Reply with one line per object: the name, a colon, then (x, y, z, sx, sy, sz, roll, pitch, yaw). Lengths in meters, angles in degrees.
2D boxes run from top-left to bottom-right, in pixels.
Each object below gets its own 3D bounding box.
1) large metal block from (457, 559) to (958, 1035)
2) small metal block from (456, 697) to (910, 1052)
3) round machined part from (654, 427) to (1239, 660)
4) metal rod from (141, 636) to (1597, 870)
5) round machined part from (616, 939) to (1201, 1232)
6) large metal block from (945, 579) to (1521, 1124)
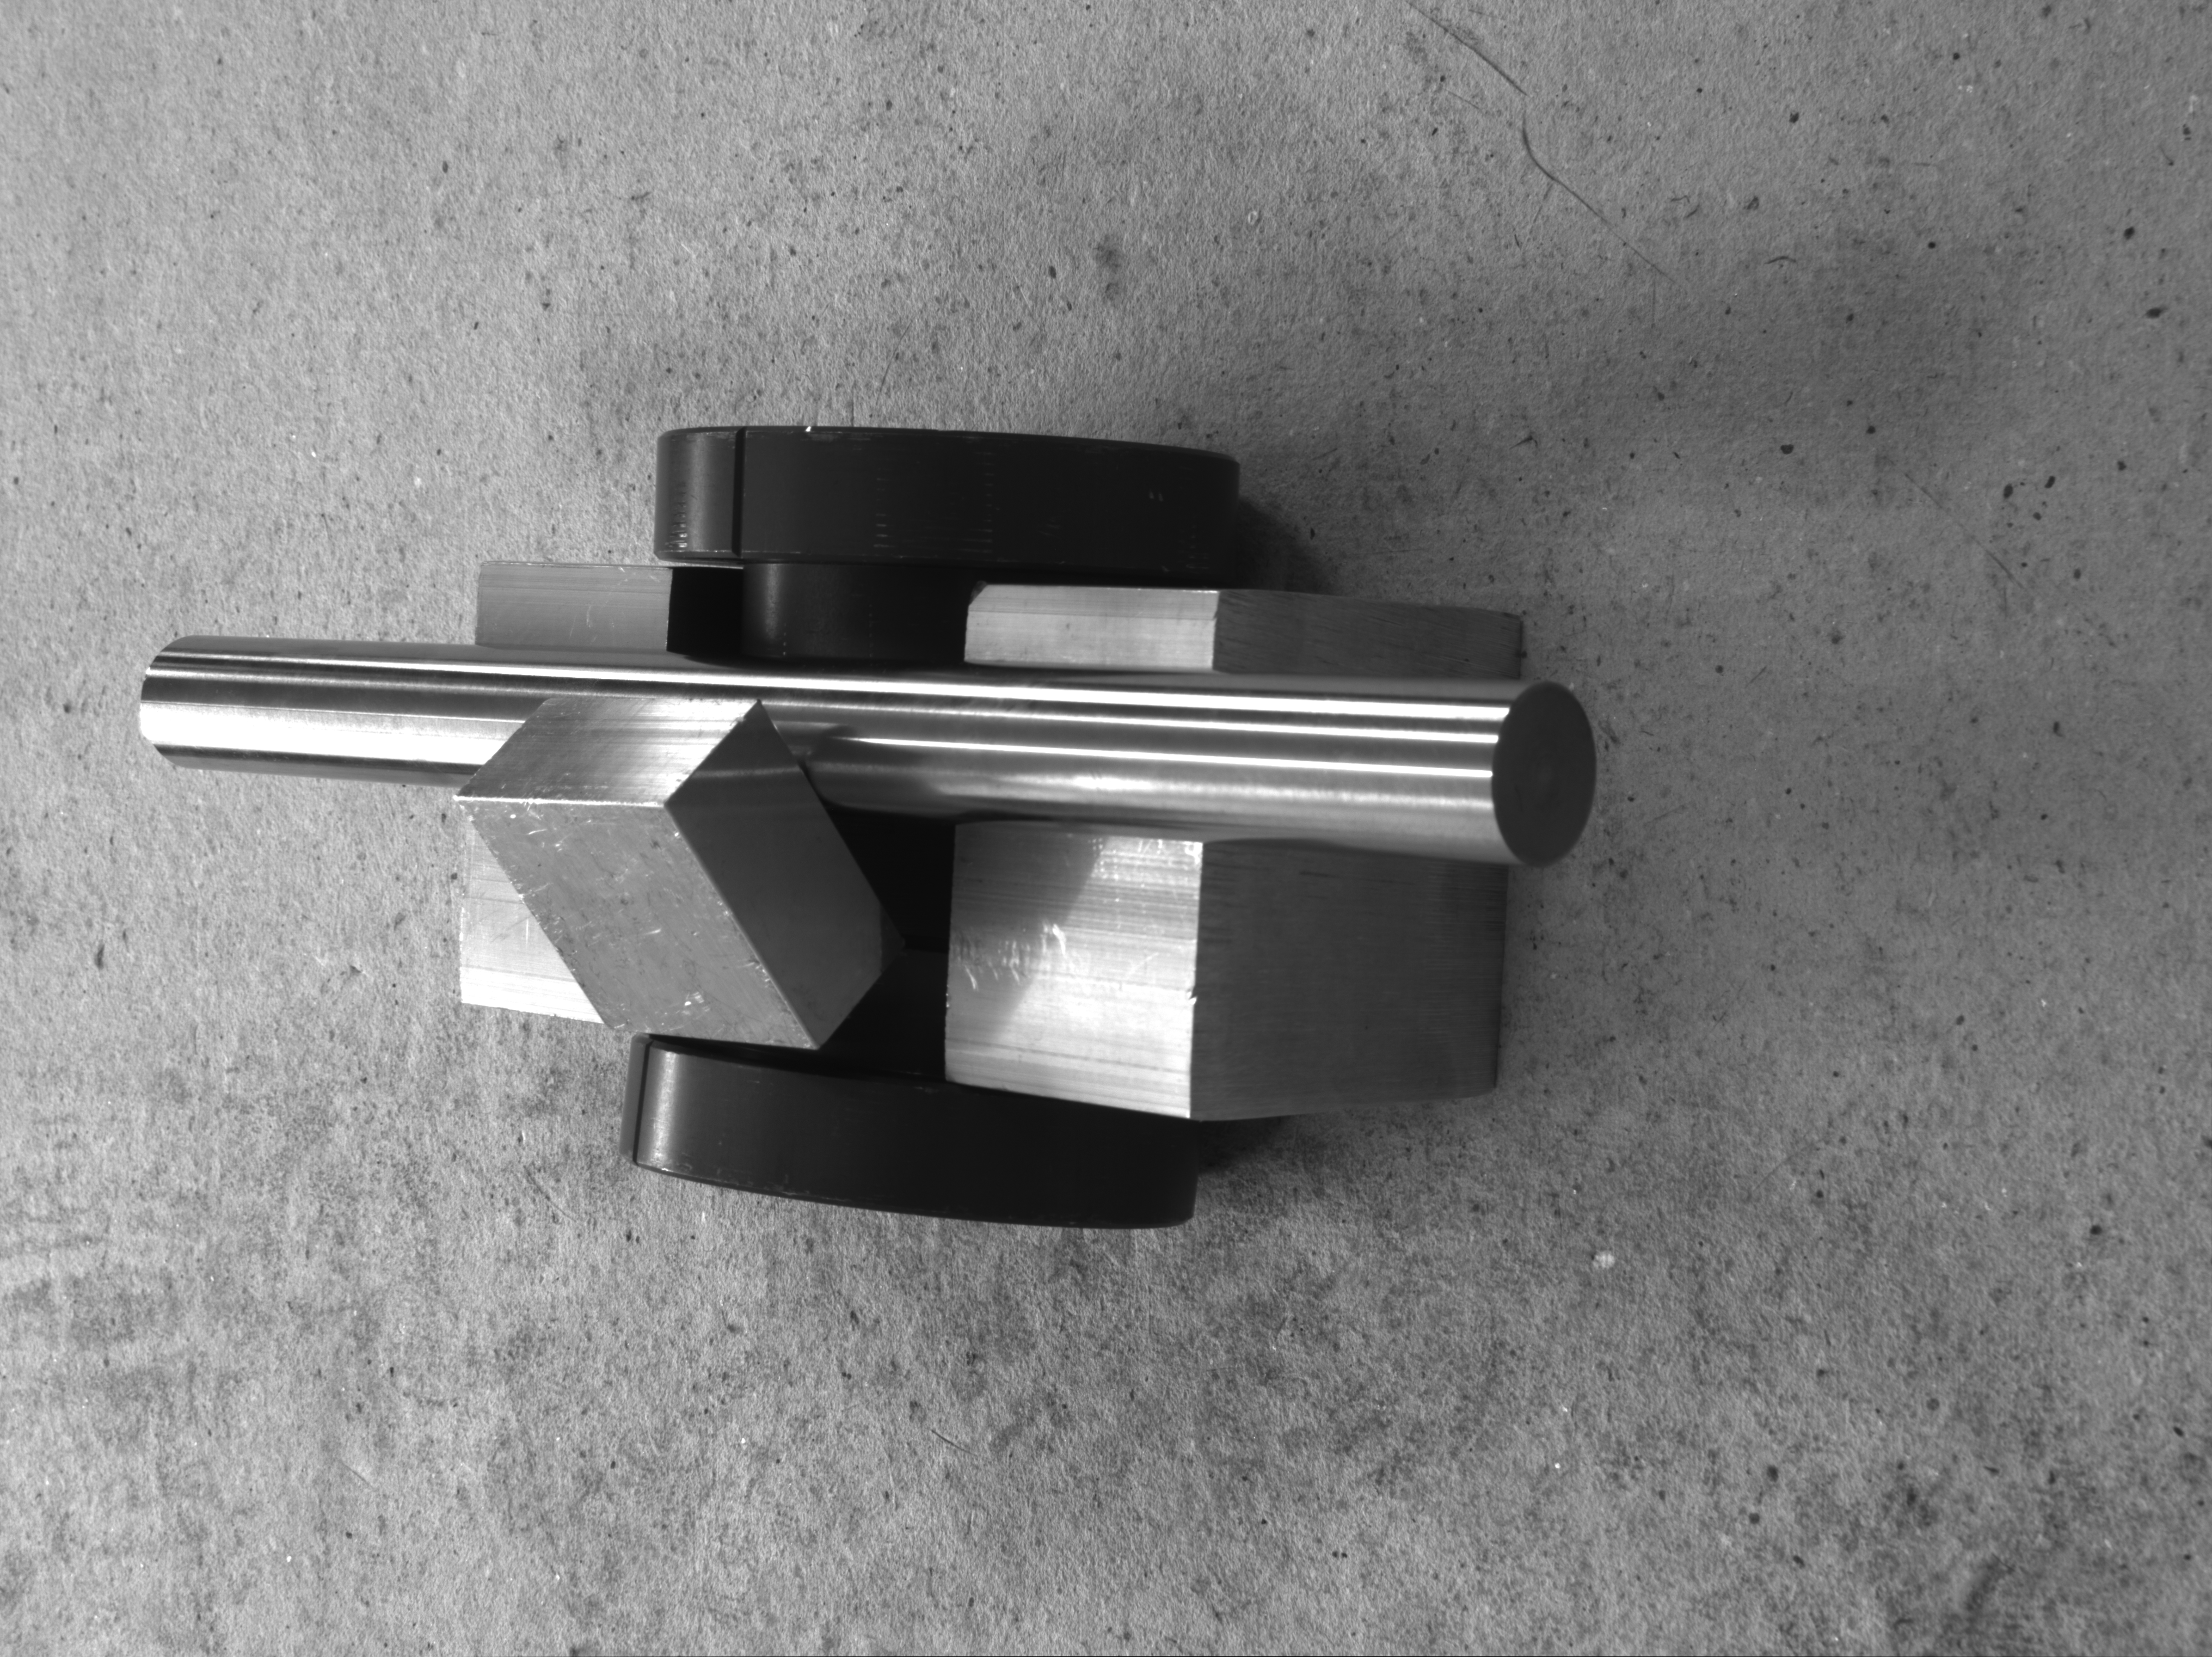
large metal block: (-0.068, -0.006, 0.668, 0.050, 0.080, 0.080, 6, 94, 40)
small metal block: (-0.067, 0.007, 0.579, 0.050, 0.025, 0.050, 2, 132, 42)
round machined part: (-0.027, -0.043, 0.621, 0.098, 0.098, 0.042, 5, 94, 40)
metal rod: (-0.055, -0.015, 0.588, 0.299, 0.025, 0.025, 4, 93, 40)
round machined part: (-0.032, 0.040, 0.625, 0.098, 0.098, 0.042, 6, 89, 40)
large metal block: (0.021, 0.003, 0.592, 0.050, 0.080, 0.080, 5, 93, 40)
